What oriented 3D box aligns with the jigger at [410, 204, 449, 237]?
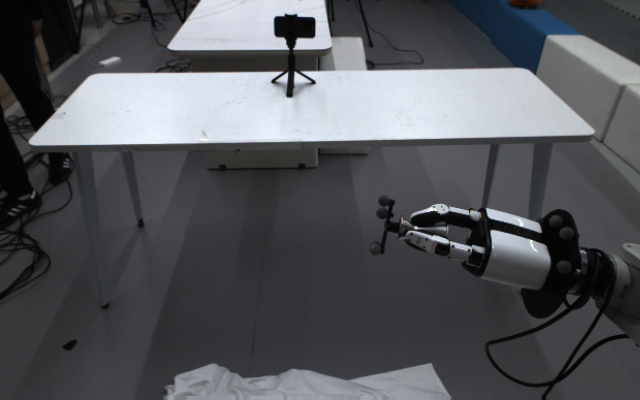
[{"bbox_3d":[0.153,0.045,0.702,0.071,0.043,0.043,12,36,5],"label":"jigger"}]
